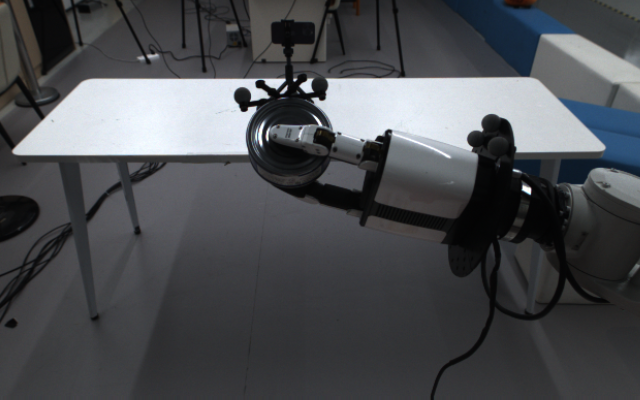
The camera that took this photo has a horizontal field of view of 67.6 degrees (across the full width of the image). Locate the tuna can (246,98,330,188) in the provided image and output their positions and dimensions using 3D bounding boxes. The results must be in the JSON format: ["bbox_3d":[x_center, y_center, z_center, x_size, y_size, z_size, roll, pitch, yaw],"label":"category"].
[{"bbox_3d":[-0.025,-0.052,0.477,0.085,0.034,0.085,0,73,-1],"label":"tuna can"}]
